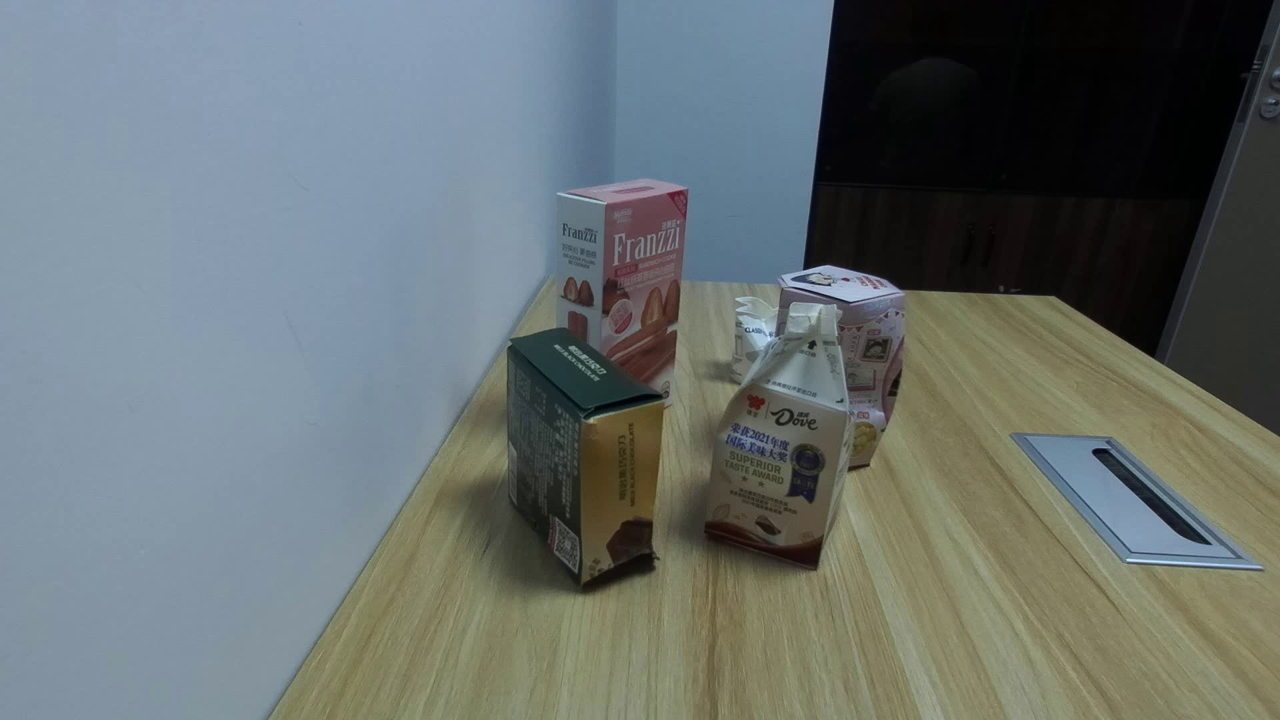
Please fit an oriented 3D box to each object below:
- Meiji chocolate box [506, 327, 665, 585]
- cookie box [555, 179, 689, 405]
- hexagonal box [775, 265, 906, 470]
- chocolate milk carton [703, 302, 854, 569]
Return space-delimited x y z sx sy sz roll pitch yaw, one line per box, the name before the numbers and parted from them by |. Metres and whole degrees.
Meiji chocolate box | -0.037 0.054 0.419 0.059 0.116 0.122 -10 24 -29
cookie box | -0.014 -0.038 0.542 0.048 0.184 0.096 21 30 34
hexagonal box | 0.135 0.008 0.509 0.093 0.134 0.088 -13 27 -31
chocolate milk carton | 0.090 0.034 0.418 0.073 0.155 0.076 13 25 21
